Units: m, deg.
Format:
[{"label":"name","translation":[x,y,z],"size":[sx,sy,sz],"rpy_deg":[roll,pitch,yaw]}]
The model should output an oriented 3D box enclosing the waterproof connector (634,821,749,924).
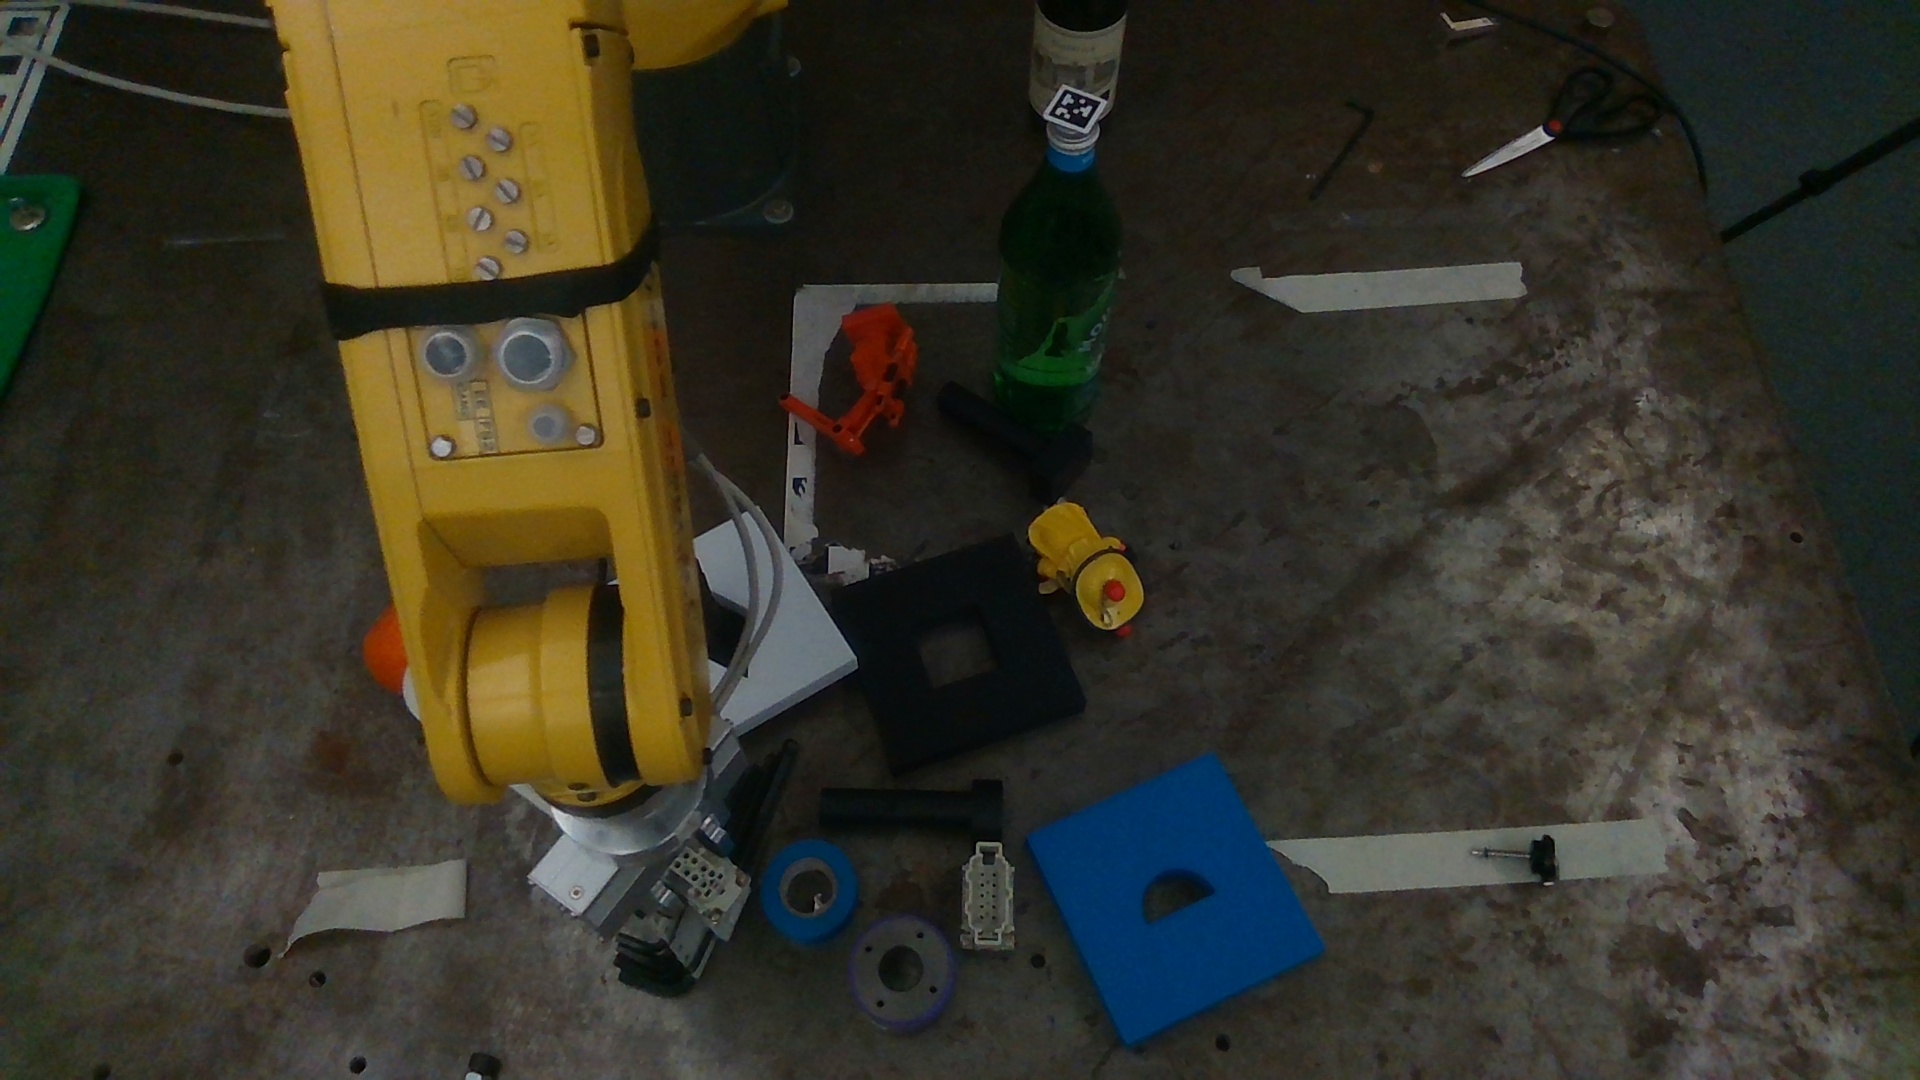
[{"label":"waterproof connector","translation":[-0.165,0.204,0.859],"size":[0.069,0.038,0.036],"rpy_deg":[31,75,16]}]
